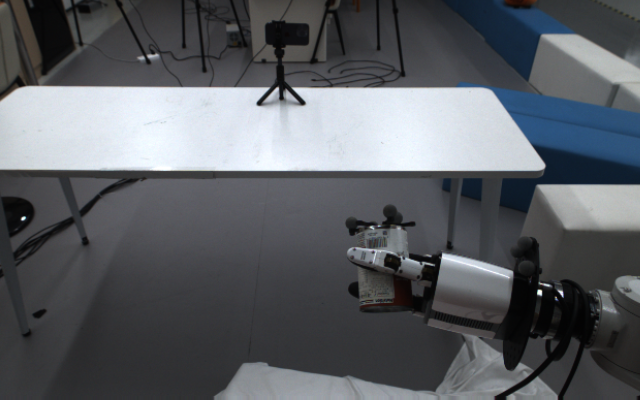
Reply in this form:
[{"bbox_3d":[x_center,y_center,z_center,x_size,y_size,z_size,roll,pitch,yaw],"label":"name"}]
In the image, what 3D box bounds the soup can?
[{"bbox_3d":[0.084,0.087,0.611,0.067,0.067,0.101,-1,71,-5],"label":"soup can"}]
